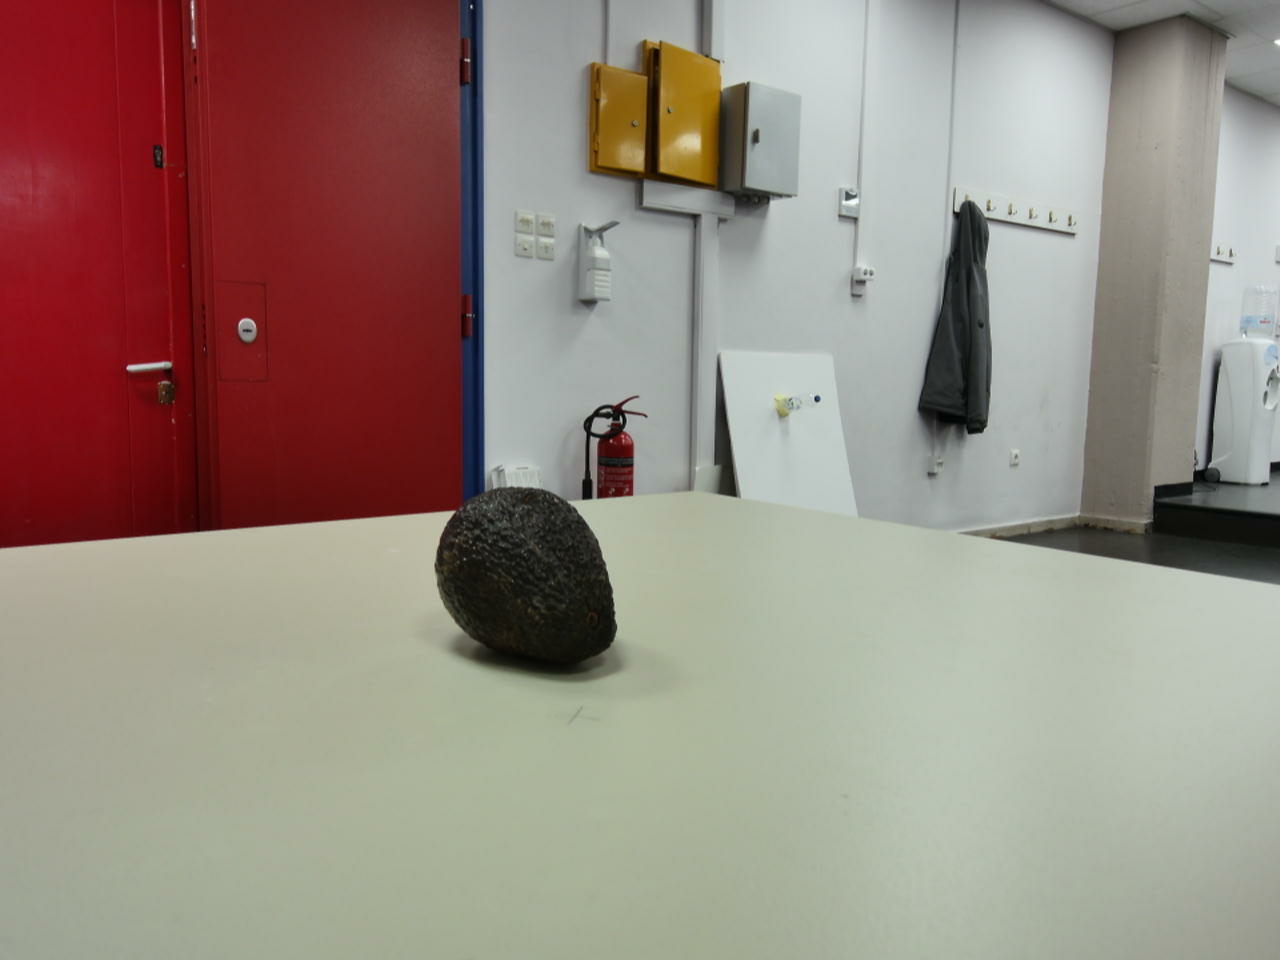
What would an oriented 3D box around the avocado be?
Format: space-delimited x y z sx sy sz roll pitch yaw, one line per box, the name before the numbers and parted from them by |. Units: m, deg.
avocado | -0.049 0.038 0.416 0.070 0.069 0.090 -1 4 -13
